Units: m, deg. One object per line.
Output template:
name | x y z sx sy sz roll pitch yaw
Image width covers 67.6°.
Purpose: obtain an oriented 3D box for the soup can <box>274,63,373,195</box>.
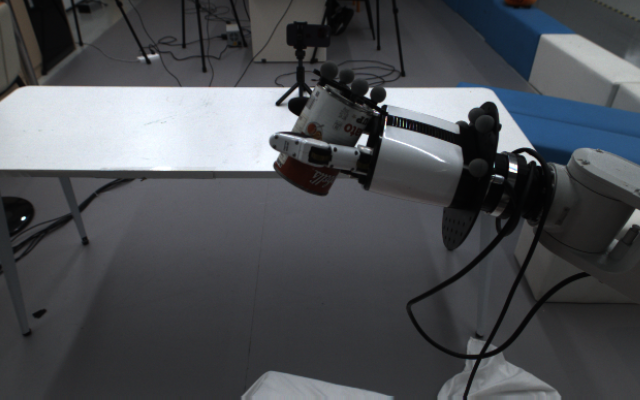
soup can | 0.005 -0.064 0.509 0.067 0.101 0.067 27 18 -9
